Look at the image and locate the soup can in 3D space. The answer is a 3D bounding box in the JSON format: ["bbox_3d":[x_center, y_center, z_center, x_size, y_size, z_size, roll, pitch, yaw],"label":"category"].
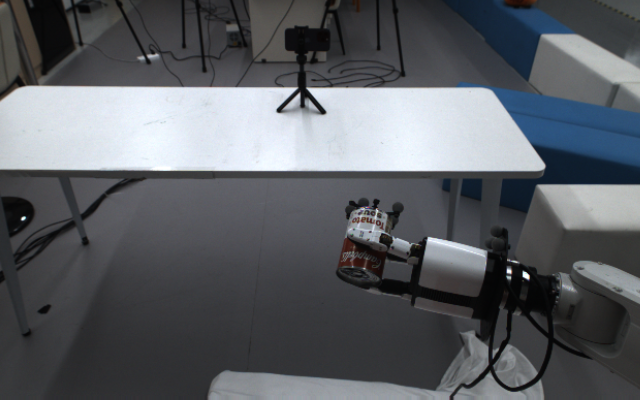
[{"bbox_3d":[0.069,0.068,0.717,0.067,0.067,0.101,9,61,10],"label":"soup can"}]
